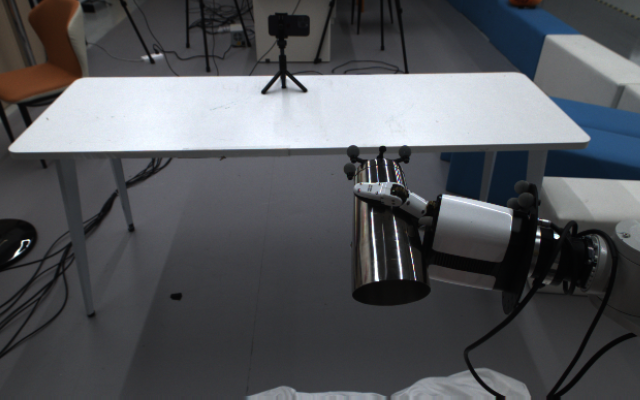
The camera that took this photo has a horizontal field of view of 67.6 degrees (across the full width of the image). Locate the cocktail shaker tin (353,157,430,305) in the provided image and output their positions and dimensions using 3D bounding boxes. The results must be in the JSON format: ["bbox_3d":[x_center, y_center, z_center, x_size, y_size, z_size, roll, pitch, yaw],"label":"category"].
[{"bbox_3d":[0.080,0.035,0.602,0.093,0.093,0.170,0,59,-3],"label":"cocktail shaker tin"}]
